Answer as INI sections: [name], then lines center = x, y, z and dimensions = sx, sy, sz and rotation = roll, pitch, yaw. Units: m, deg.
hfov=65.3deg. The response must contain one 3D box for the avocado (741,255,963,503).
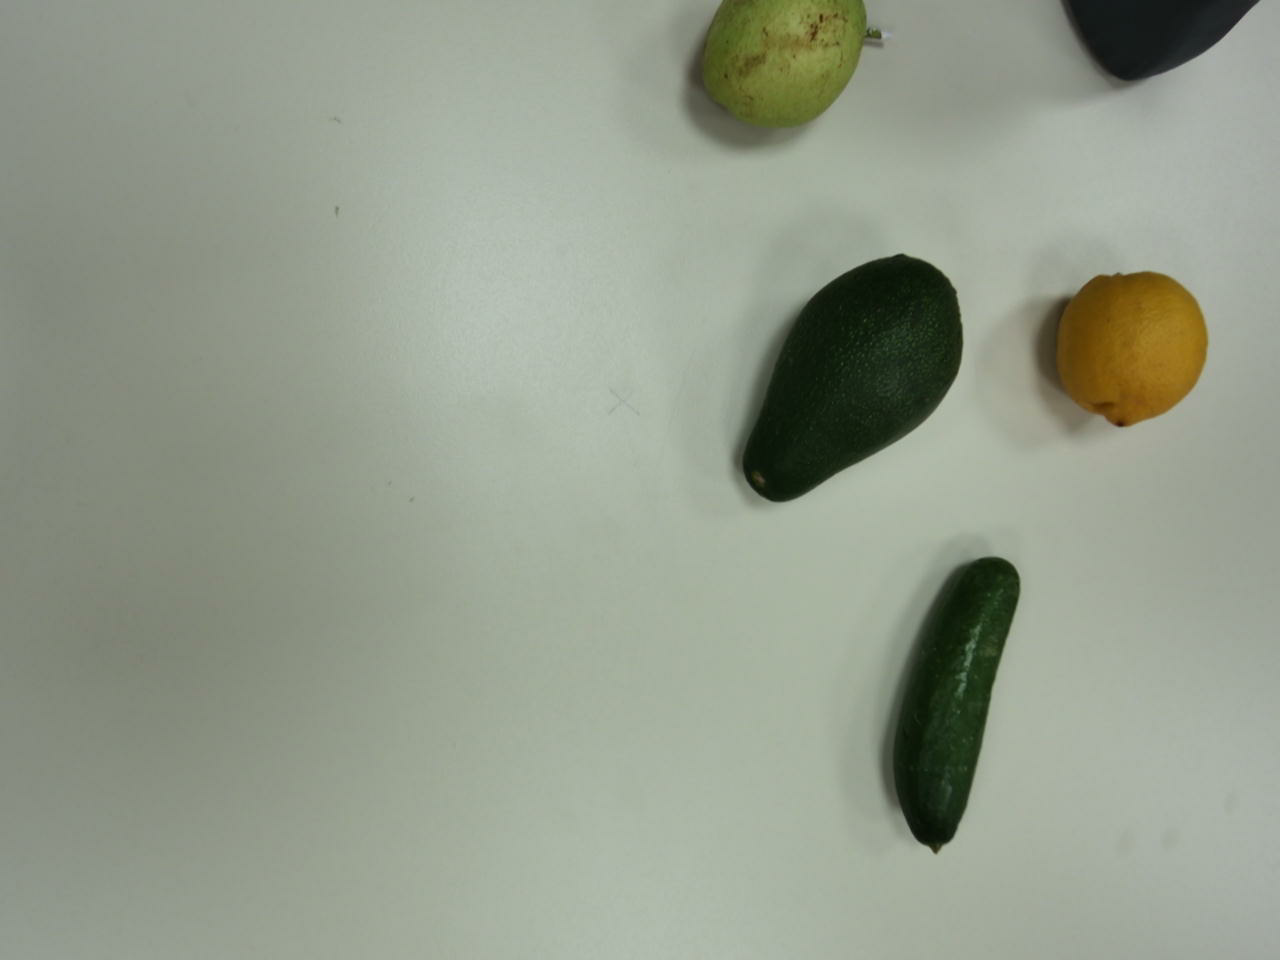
[avocado]
center = 0.087, -0.044, 0.422
dimensions = 0.109, 0.071, 0.072
rotation = -33, 96, -9
